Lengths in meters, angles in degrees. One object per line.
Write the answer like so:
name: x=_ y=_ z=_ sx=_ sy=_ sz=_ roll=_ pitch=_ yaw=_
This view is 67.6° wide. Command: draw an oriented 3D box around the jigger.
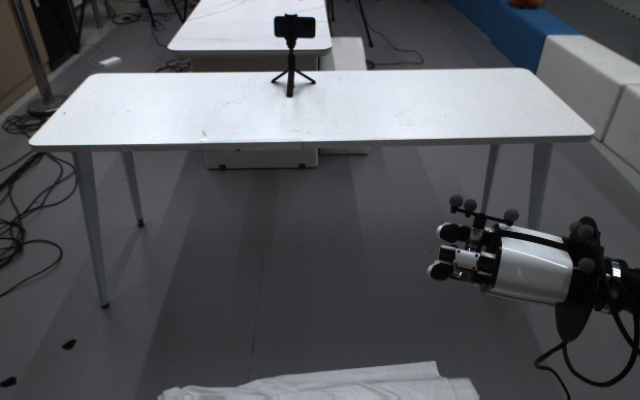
jigger: x=0.204 y=0.070 z=0.643 sx=0.043 sy=0.071 sz=0.043 roll=14 pitch=1 yaw=0
